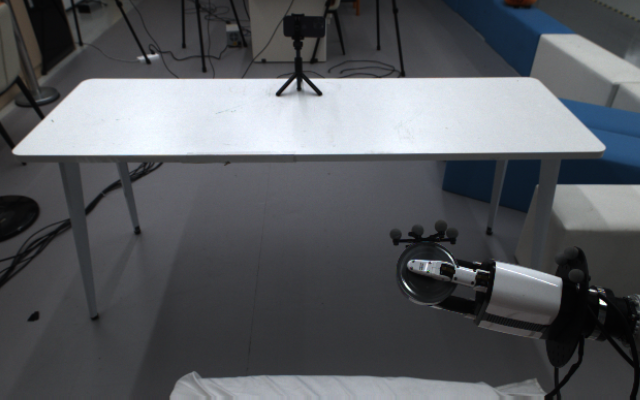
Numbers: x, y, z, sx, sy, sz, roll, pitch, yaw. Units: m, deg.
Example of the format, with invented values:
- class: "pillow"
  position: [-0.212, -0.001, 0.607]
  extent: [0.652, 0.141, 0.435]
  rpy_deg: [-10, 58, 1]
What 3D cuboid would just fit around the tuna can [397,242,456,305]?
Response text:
- class: "tuna can"
  position: [0.151, 0.100, 0.676]
  extent: [0.085, 0.034, 0.085]
  rpy_deg: [-3, 68, 7]
